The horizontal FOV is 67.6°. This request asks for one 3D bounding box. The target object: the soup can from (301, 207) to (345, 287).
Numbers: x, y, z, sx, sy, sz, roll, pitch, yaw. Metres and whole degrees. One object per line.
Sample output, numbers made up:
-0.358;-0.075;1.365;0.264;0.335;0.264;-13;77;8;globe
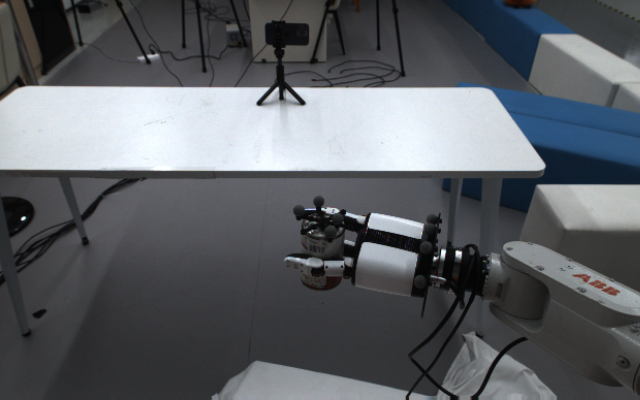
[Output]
0.004;0.080;0.744;0.067;0.101;0.067;2;32;-1;soup can
